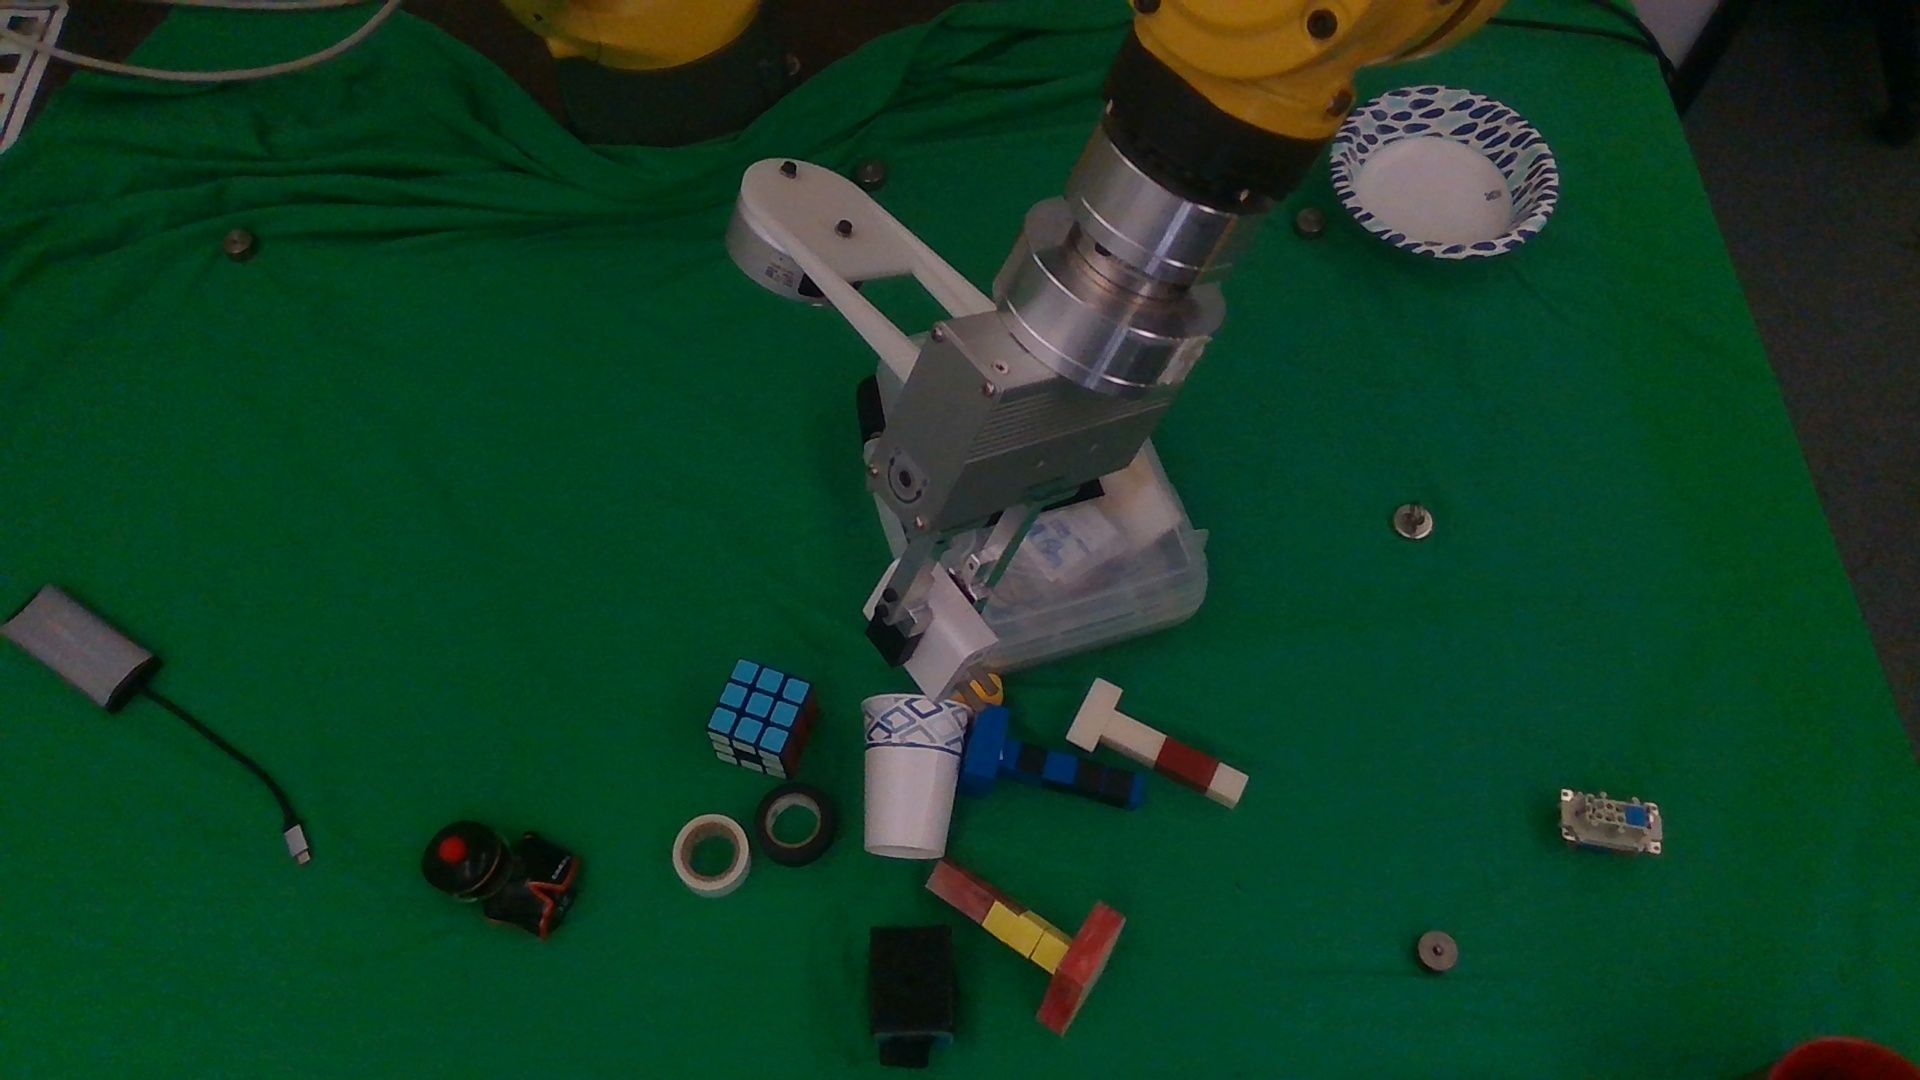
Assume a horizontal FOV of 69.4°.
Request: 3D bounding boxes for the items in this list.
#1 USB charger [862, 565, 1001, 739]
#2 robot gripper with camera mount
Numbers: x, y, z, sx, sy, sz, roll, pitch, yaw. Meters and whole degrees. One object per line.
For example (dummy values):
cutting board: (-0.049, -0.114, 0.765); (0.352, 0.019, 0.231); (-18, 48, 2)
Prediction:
USB charger: (-0.009, 0.048, 0.578); (0.029, 0.045, 0.076); (-17, 62, -38)
robot gripper with camera mount: (-0.035, -0.060, 0.578); (0.118, 0.159, 0.194); (-14, 52, -37)
